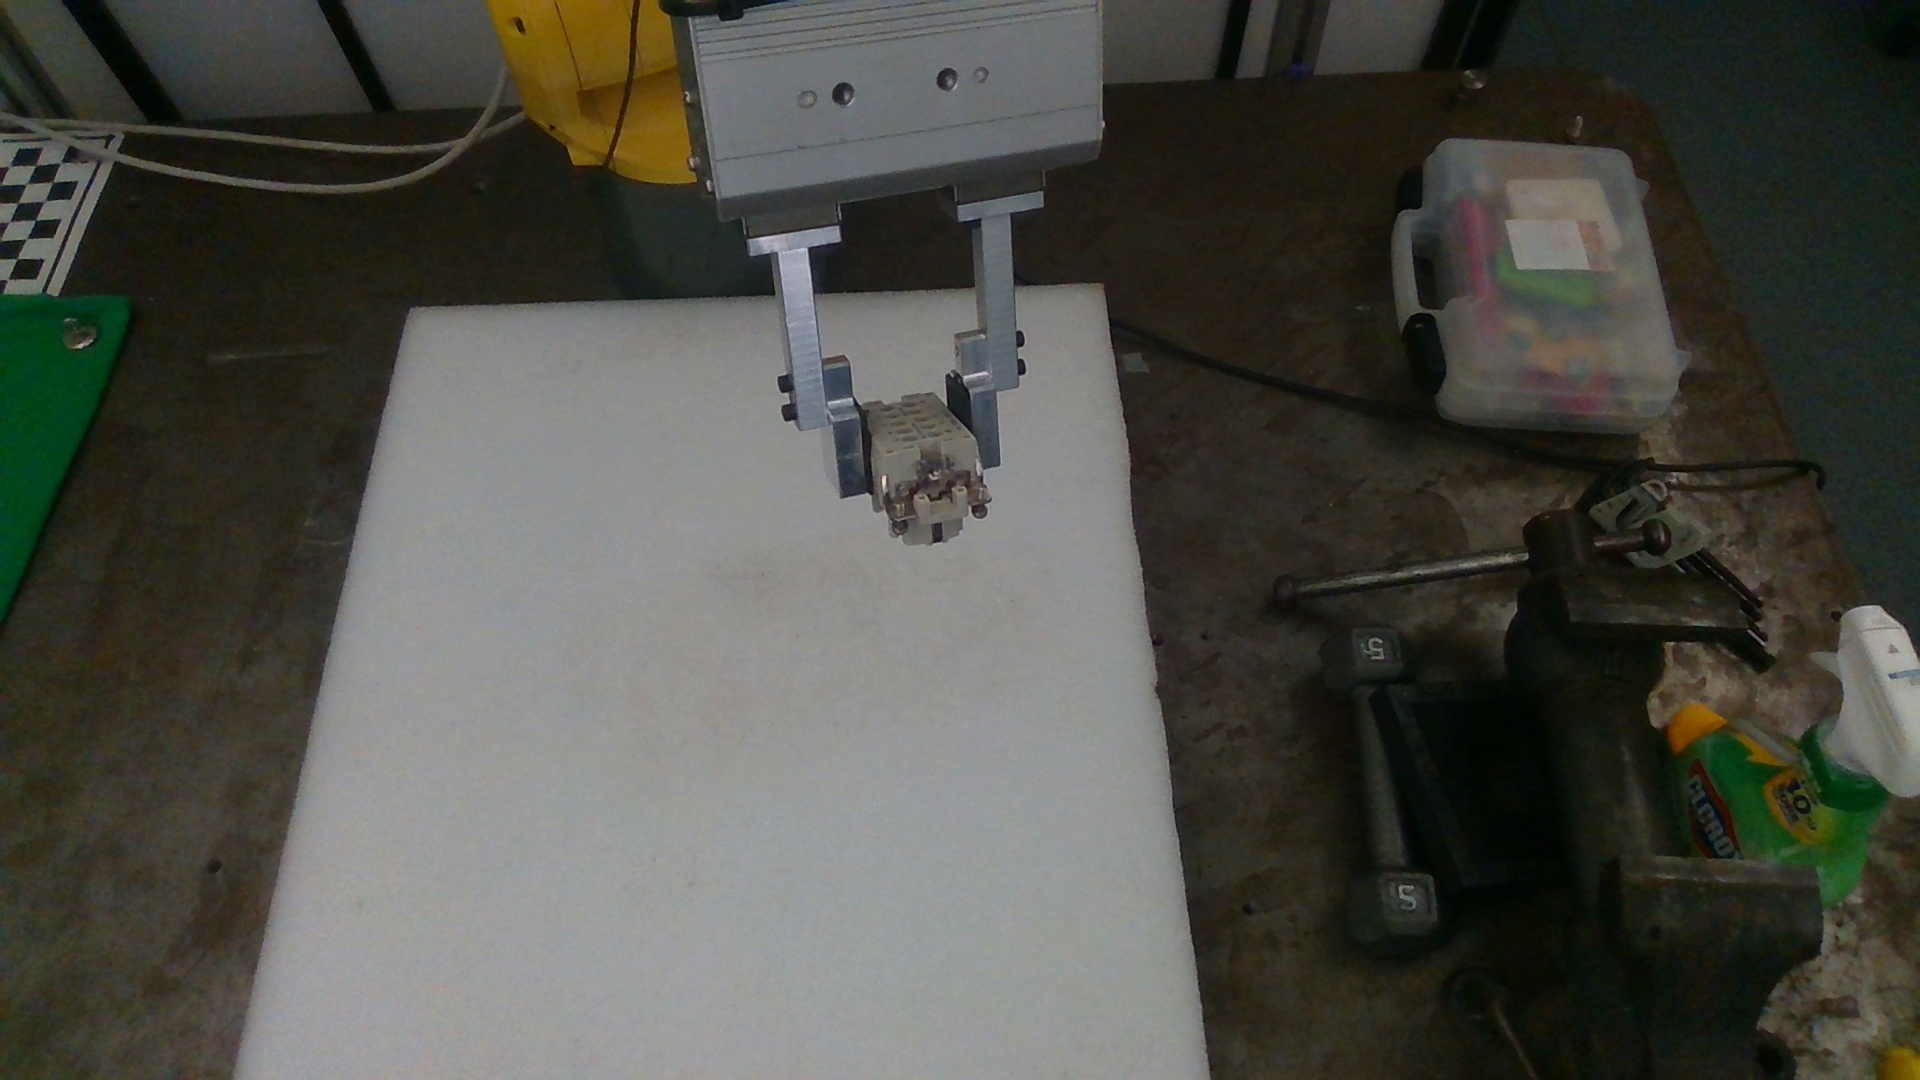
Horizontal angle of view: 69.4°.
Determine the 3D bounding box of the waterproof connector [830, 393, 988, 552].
[{"bbox_3d":[-0.018,-0.023,0.466,0.036,0.038,0.069,-10,26,-19],"label":"waterproof connector"}]
